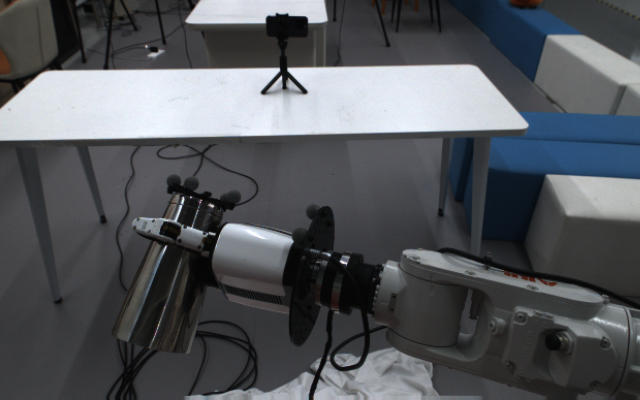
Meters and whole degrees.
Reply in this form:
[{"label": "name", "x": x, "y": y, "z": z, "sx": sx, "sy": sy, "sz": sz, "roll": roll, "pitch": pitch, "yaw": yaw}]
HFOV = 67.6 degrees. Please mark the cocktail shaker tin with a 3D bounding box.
[{"label": "cocktail shaker tin", "x": -0.169, "y": 0.082, "z": 0.573, "sx": 0.093, "sy": 0.093, "sz": 0.170, "roll": 13, "pitch": 77, "yaw": 15}]
